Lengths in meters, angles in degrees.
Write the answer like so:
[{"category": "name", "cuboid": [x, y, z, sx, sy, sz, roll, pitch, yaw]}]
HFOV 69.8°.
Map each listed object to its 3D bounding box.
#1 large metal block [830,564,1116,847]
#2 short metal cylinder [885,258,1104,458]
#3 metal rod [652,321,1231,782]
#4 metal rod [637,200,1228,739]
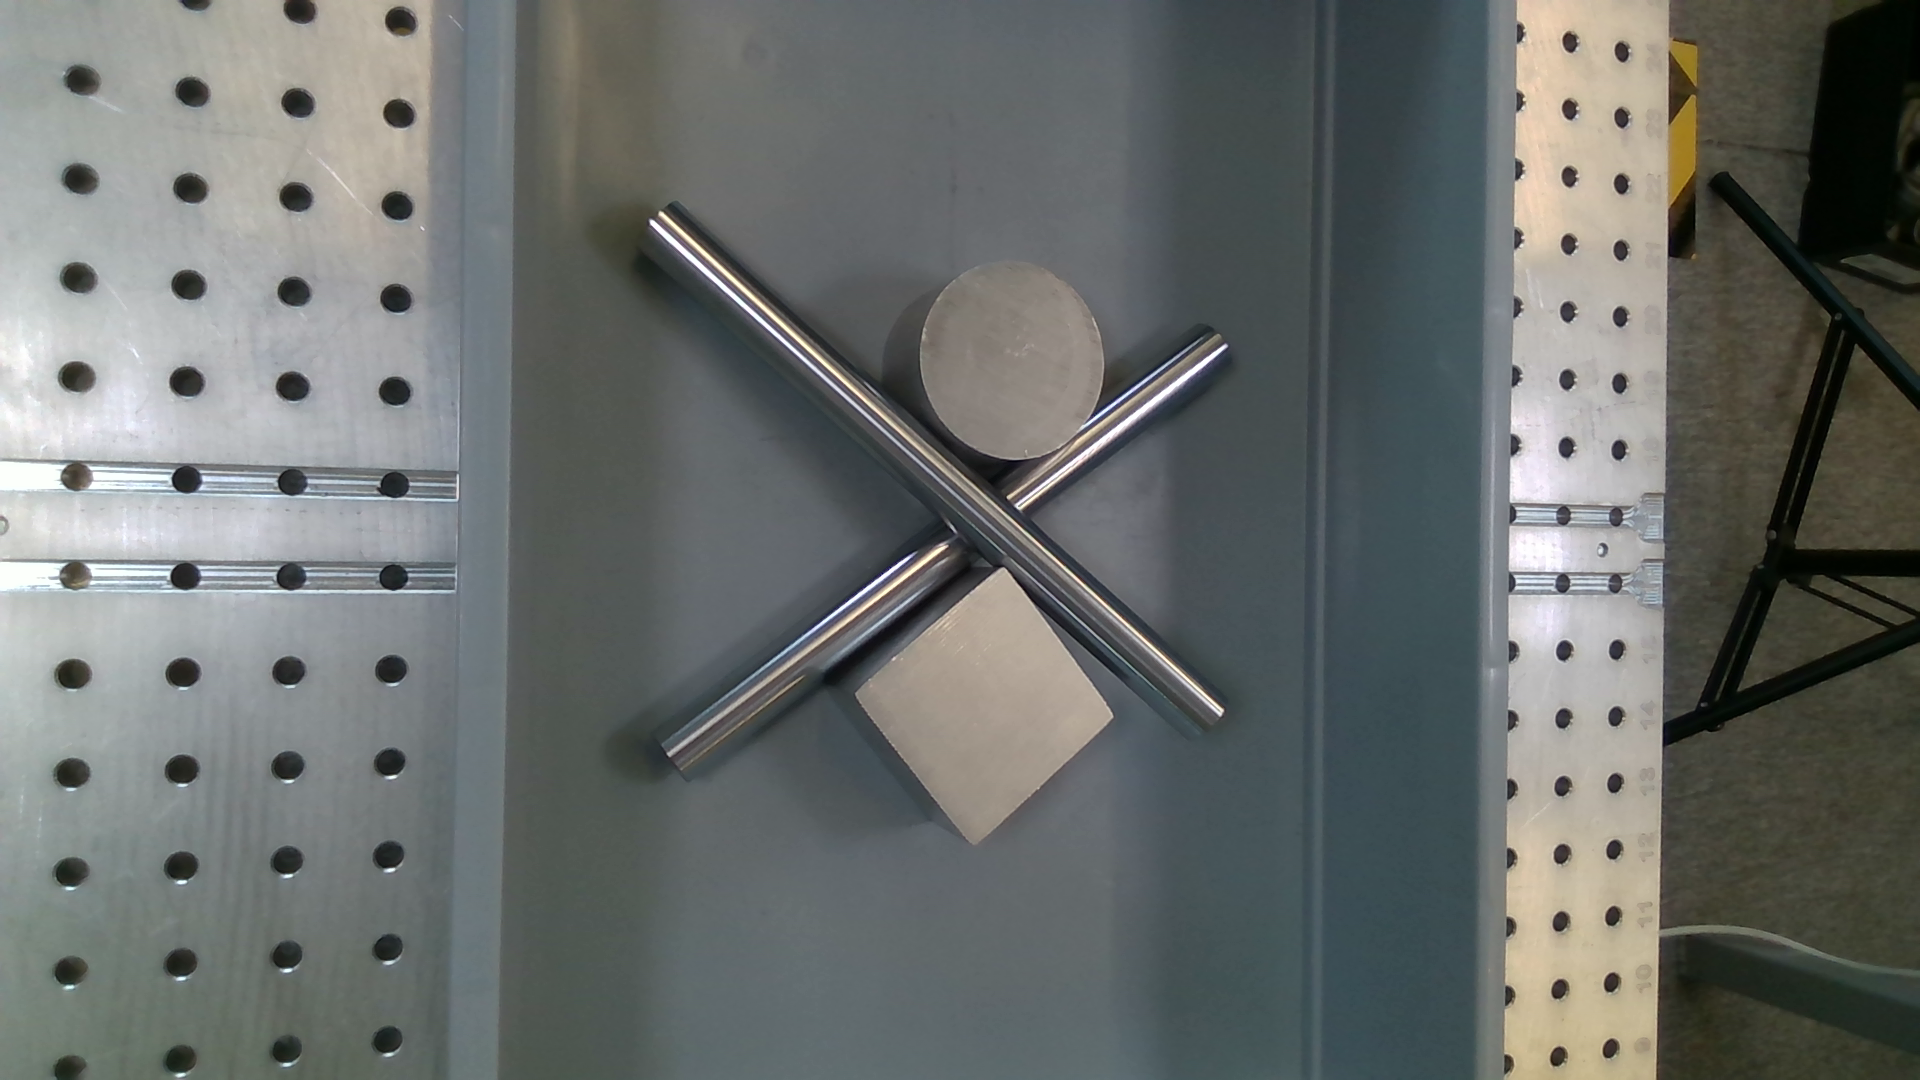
[{"category": "large metal block", "cuboid": [0.003, 0.066, 0.572, 0.080, 0.050, 0.080, -40, 103, -16]}, {"category": "short metal cylinder", "cuboid": [0.013, -0.073, 0.576, 0.080, 0.050, 0.080, 0, 90, -20]}, {"category": "metal rod", "cuboid": [0.000, -0.002, 0.584, 0.300, 0.025, 0.025, -37, 102, -16]}, {"category": "metal rod", "cuboid": [-0.008, -0.025, 0.560, 0.300, 0.025, 0.025, 42, 77, -7]}]
